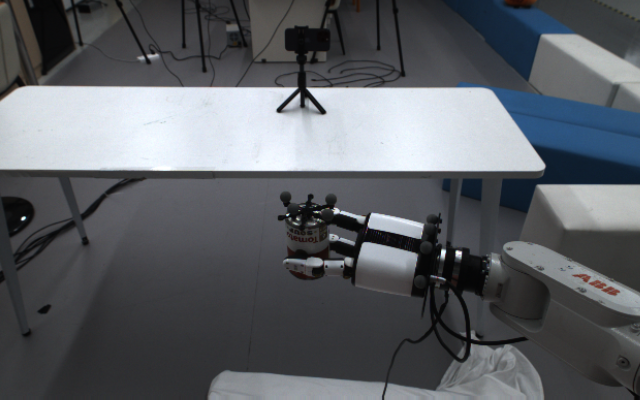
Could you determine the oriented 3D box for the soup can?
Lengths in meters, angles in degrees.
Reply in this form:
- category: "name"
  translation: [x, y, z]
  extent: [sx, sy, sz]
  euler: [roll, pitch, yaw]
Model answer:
- category: "soup can"
  translation: [-0.016, 0.062, 0.742]
  extent: [0.067, 0.101, 0.067]
  euler: [-2, 33, 1]
